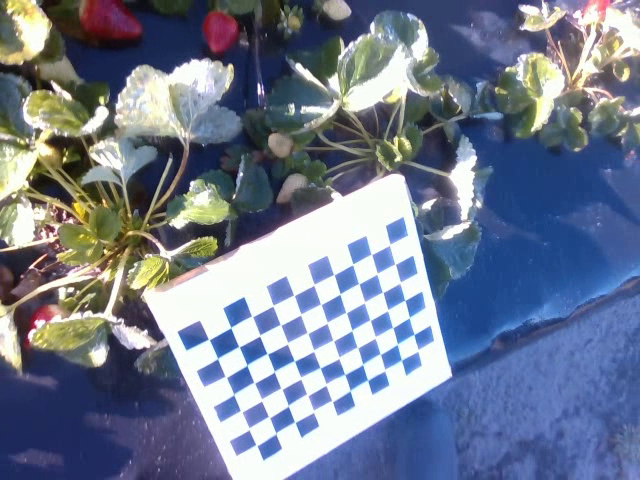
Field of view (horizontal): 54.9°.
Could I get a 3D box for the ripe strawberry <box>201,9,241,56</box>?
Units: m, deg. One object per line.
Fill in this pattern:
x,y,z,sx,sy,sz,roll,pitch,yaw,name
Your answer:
-0.092,-0.195,0.575,0.039,0.047,0.040,14,-8,-29,ripe strawberry

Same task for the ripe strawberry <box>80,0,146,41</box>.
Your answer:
-0.181,-0.198,0.544,0.056,0.044,0.040,27,-3,-29,ripe strawberry
